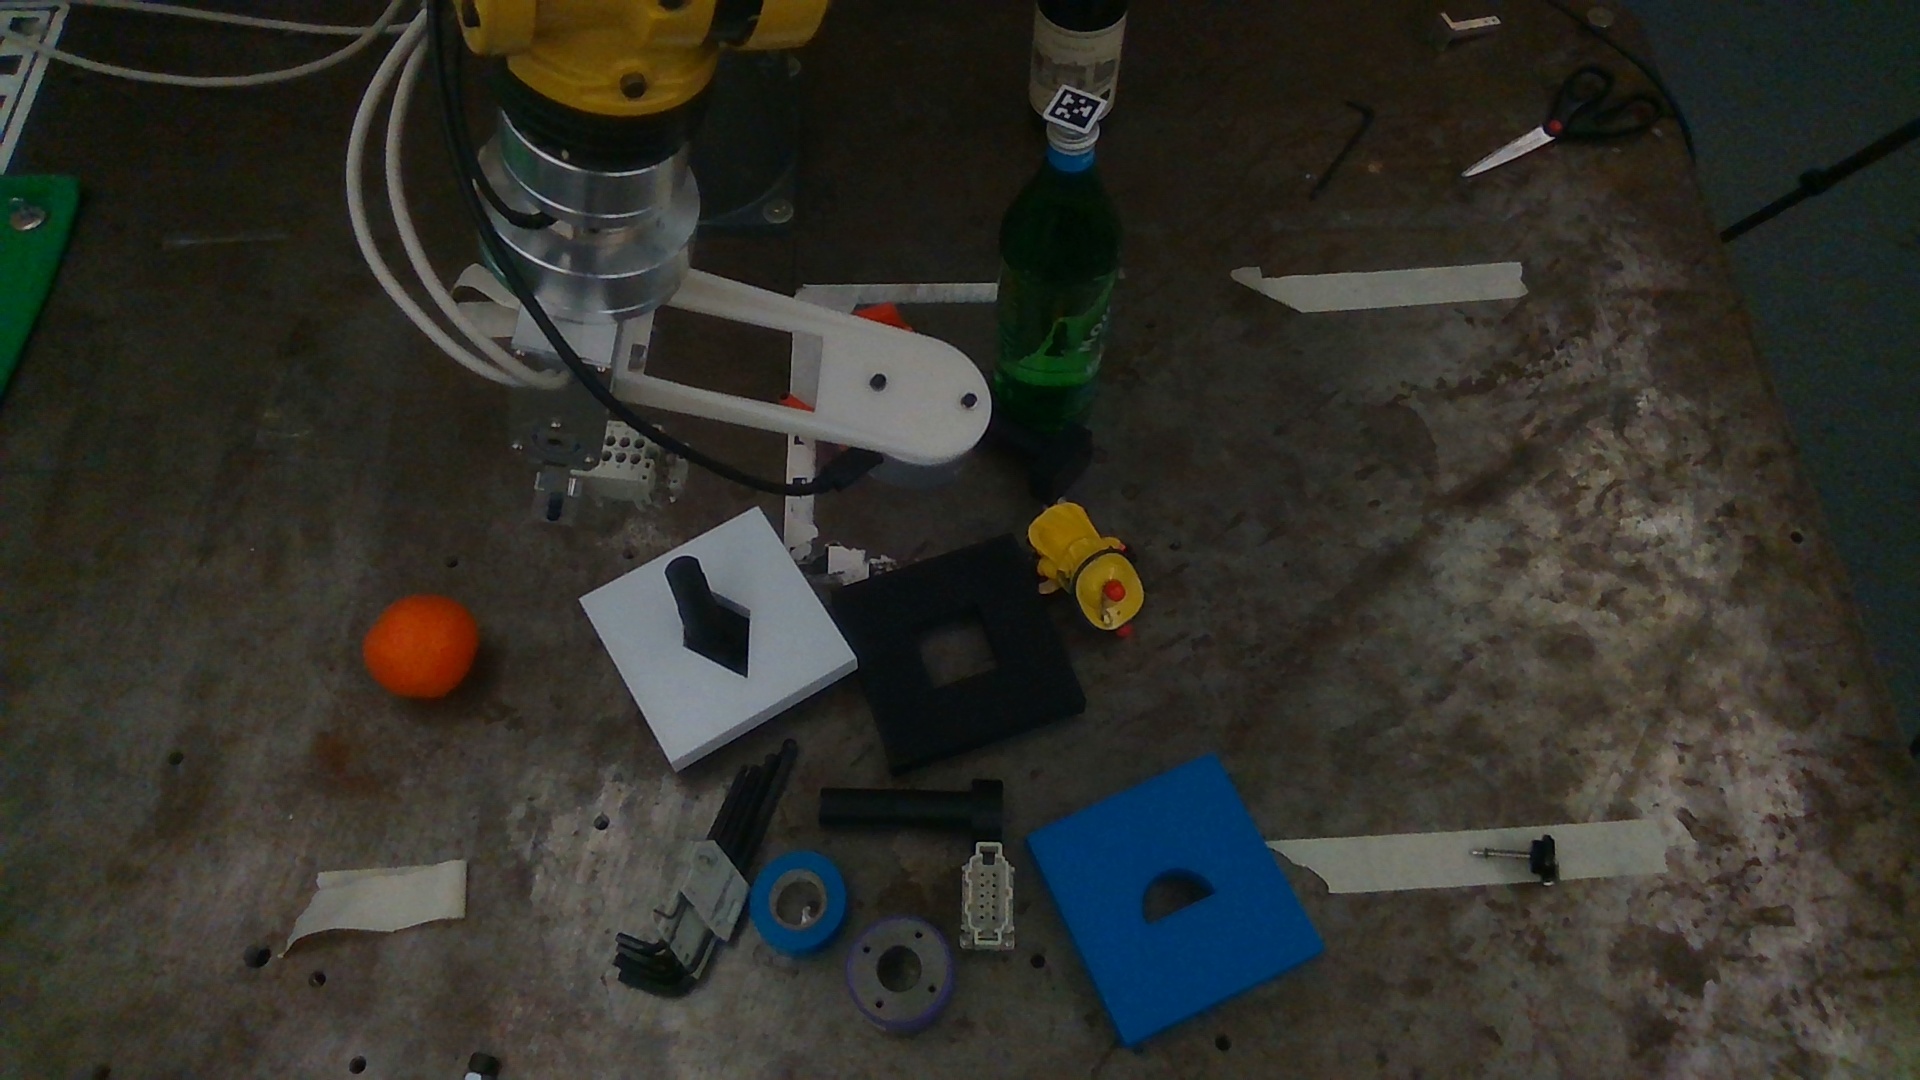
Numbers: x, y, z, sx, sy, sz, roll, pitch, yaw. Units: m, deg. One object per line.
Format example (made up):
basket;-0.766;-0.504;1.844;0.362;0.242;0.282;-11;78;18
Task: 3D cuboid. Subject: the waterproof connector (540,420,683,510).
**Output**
waterproof connector;-0.175;-0.036;0.698;0.069;0.038;0.036;3;62;4
